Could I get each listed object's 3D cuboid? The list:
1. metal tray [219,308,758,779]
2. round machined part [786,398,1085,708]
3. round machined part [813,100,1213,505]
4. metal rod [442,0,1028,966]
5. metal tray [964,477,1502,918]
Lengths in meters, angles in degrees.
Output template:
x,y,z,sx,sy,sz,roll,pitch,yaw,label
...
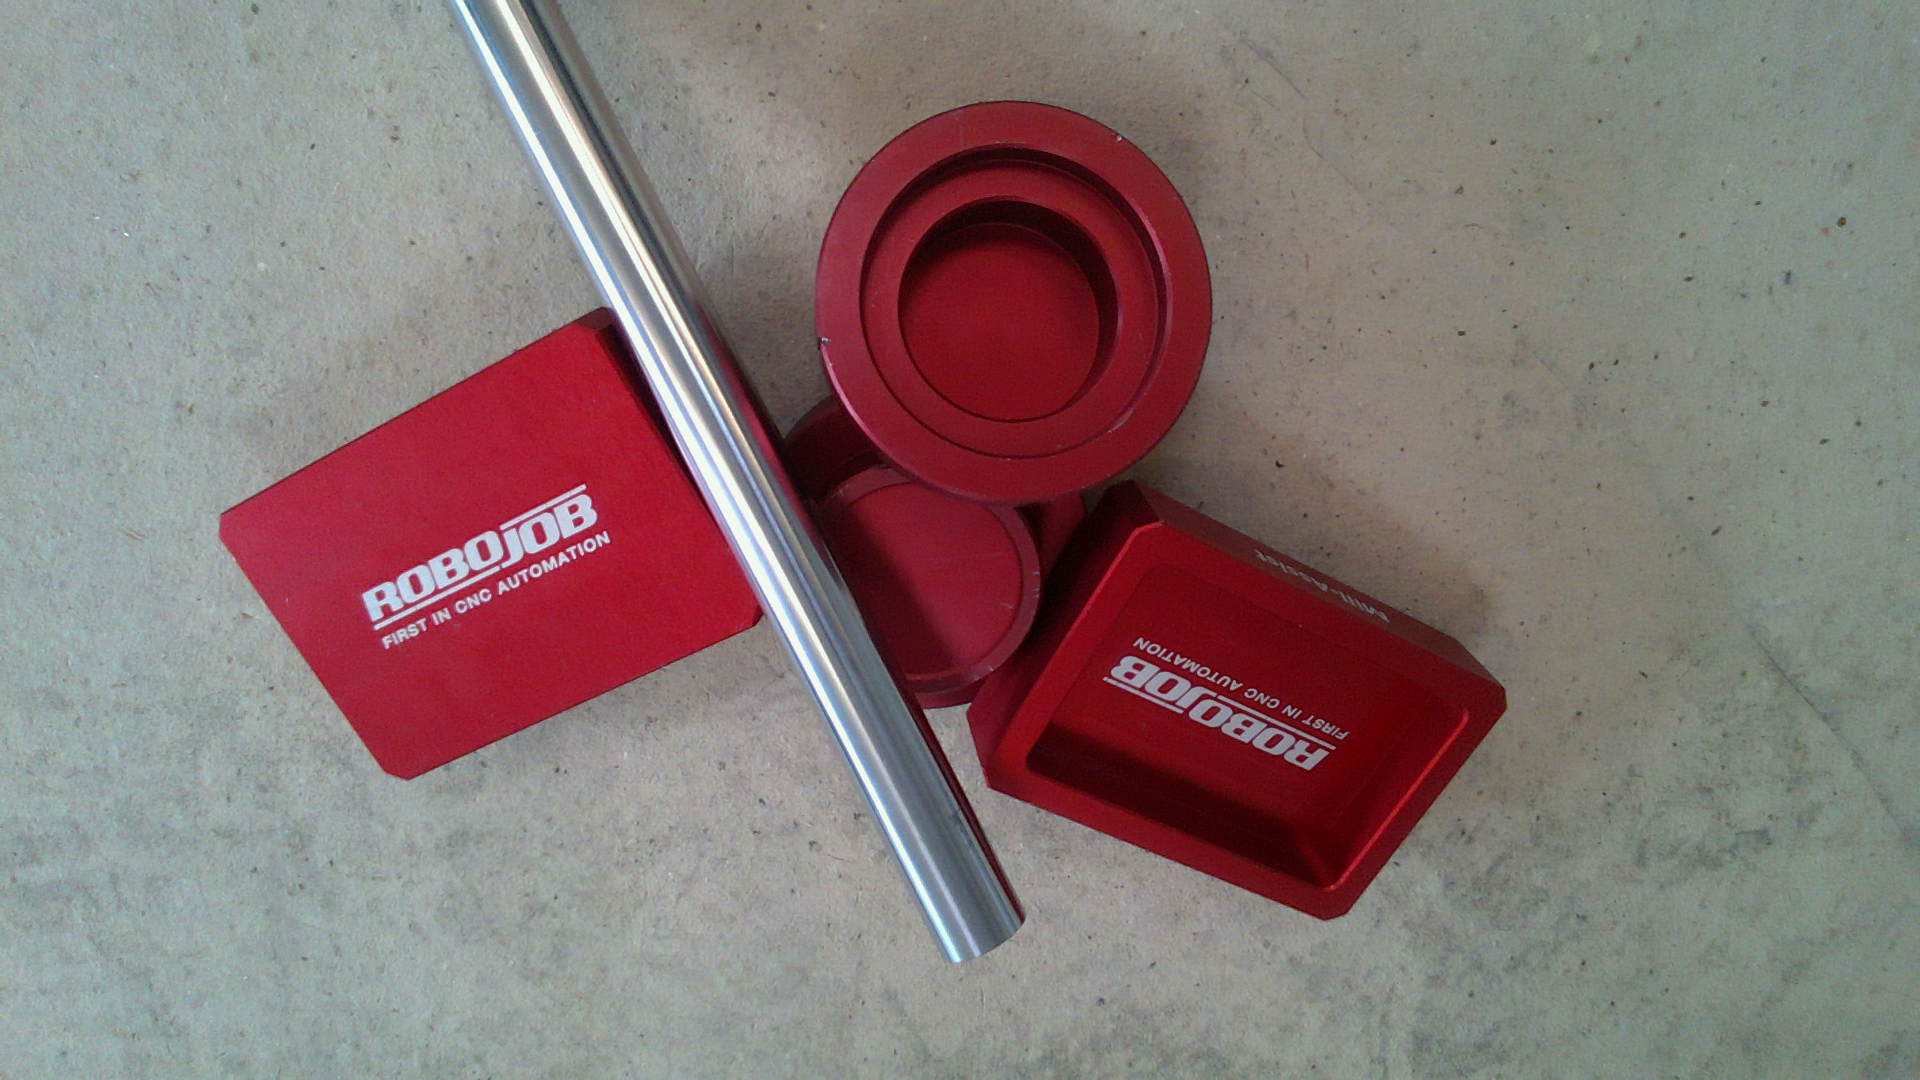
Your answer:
x,y,z,sx,sy,sz,roll,pitch,yaw,label
-0.125,0.003,0.380,0.130,0.030,0.090,-24,106,17,metal tray
-0.012,0.004,0.387,0.098,0.042,0.098,0,110,0,round machined part
0.012,-0.057,0.352,0.098,0.042,0.098,0,88,-7,round machined part
-0.061,-0.029,0.348,0.025,0.025,0.300,-26,95,9,metal rod
0.079,0.049,0.398,0.130,0.030,0.090,25,108,-20,metal tray
